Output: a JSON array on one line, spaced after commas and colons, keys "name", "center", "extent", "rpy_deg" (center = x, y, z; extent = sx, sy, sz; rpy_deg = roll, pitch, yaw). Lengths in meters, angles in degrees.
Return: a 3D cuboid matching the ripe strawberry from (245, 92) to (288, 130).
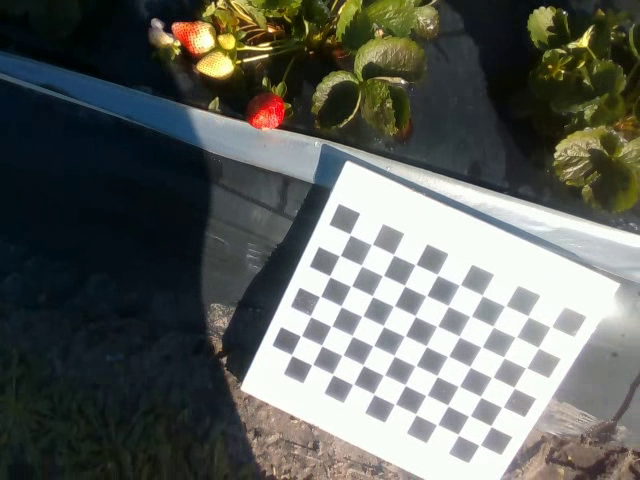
[{"name": "ripe strawberry", "center": [-0.048, -0.103, 0.445], "extent": [0.036, 0.038, 0.046], "rpy_deg": [24, 28, 7]}]
